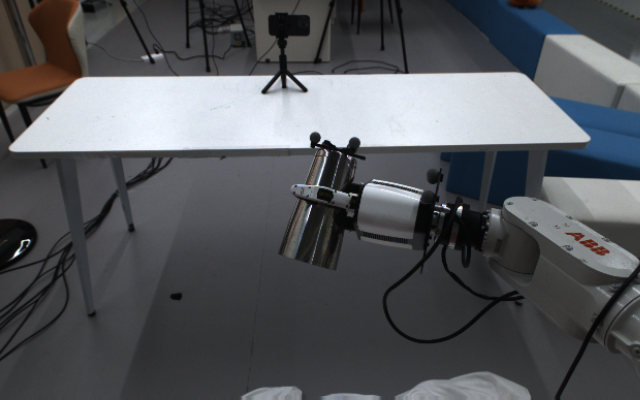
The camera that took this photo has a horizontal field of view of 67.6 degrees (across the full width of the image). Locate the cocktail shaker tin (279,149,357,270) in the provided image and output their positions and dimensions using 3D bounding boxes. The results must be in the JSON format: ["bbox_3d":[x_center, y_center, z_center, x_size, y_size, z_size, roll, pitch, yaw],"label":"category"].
[{"bbox_3d":[0.002,0.012,0.739,0.093,0.170,0.093,16,-6,2],"label":"cocktail shaker tin"}]
